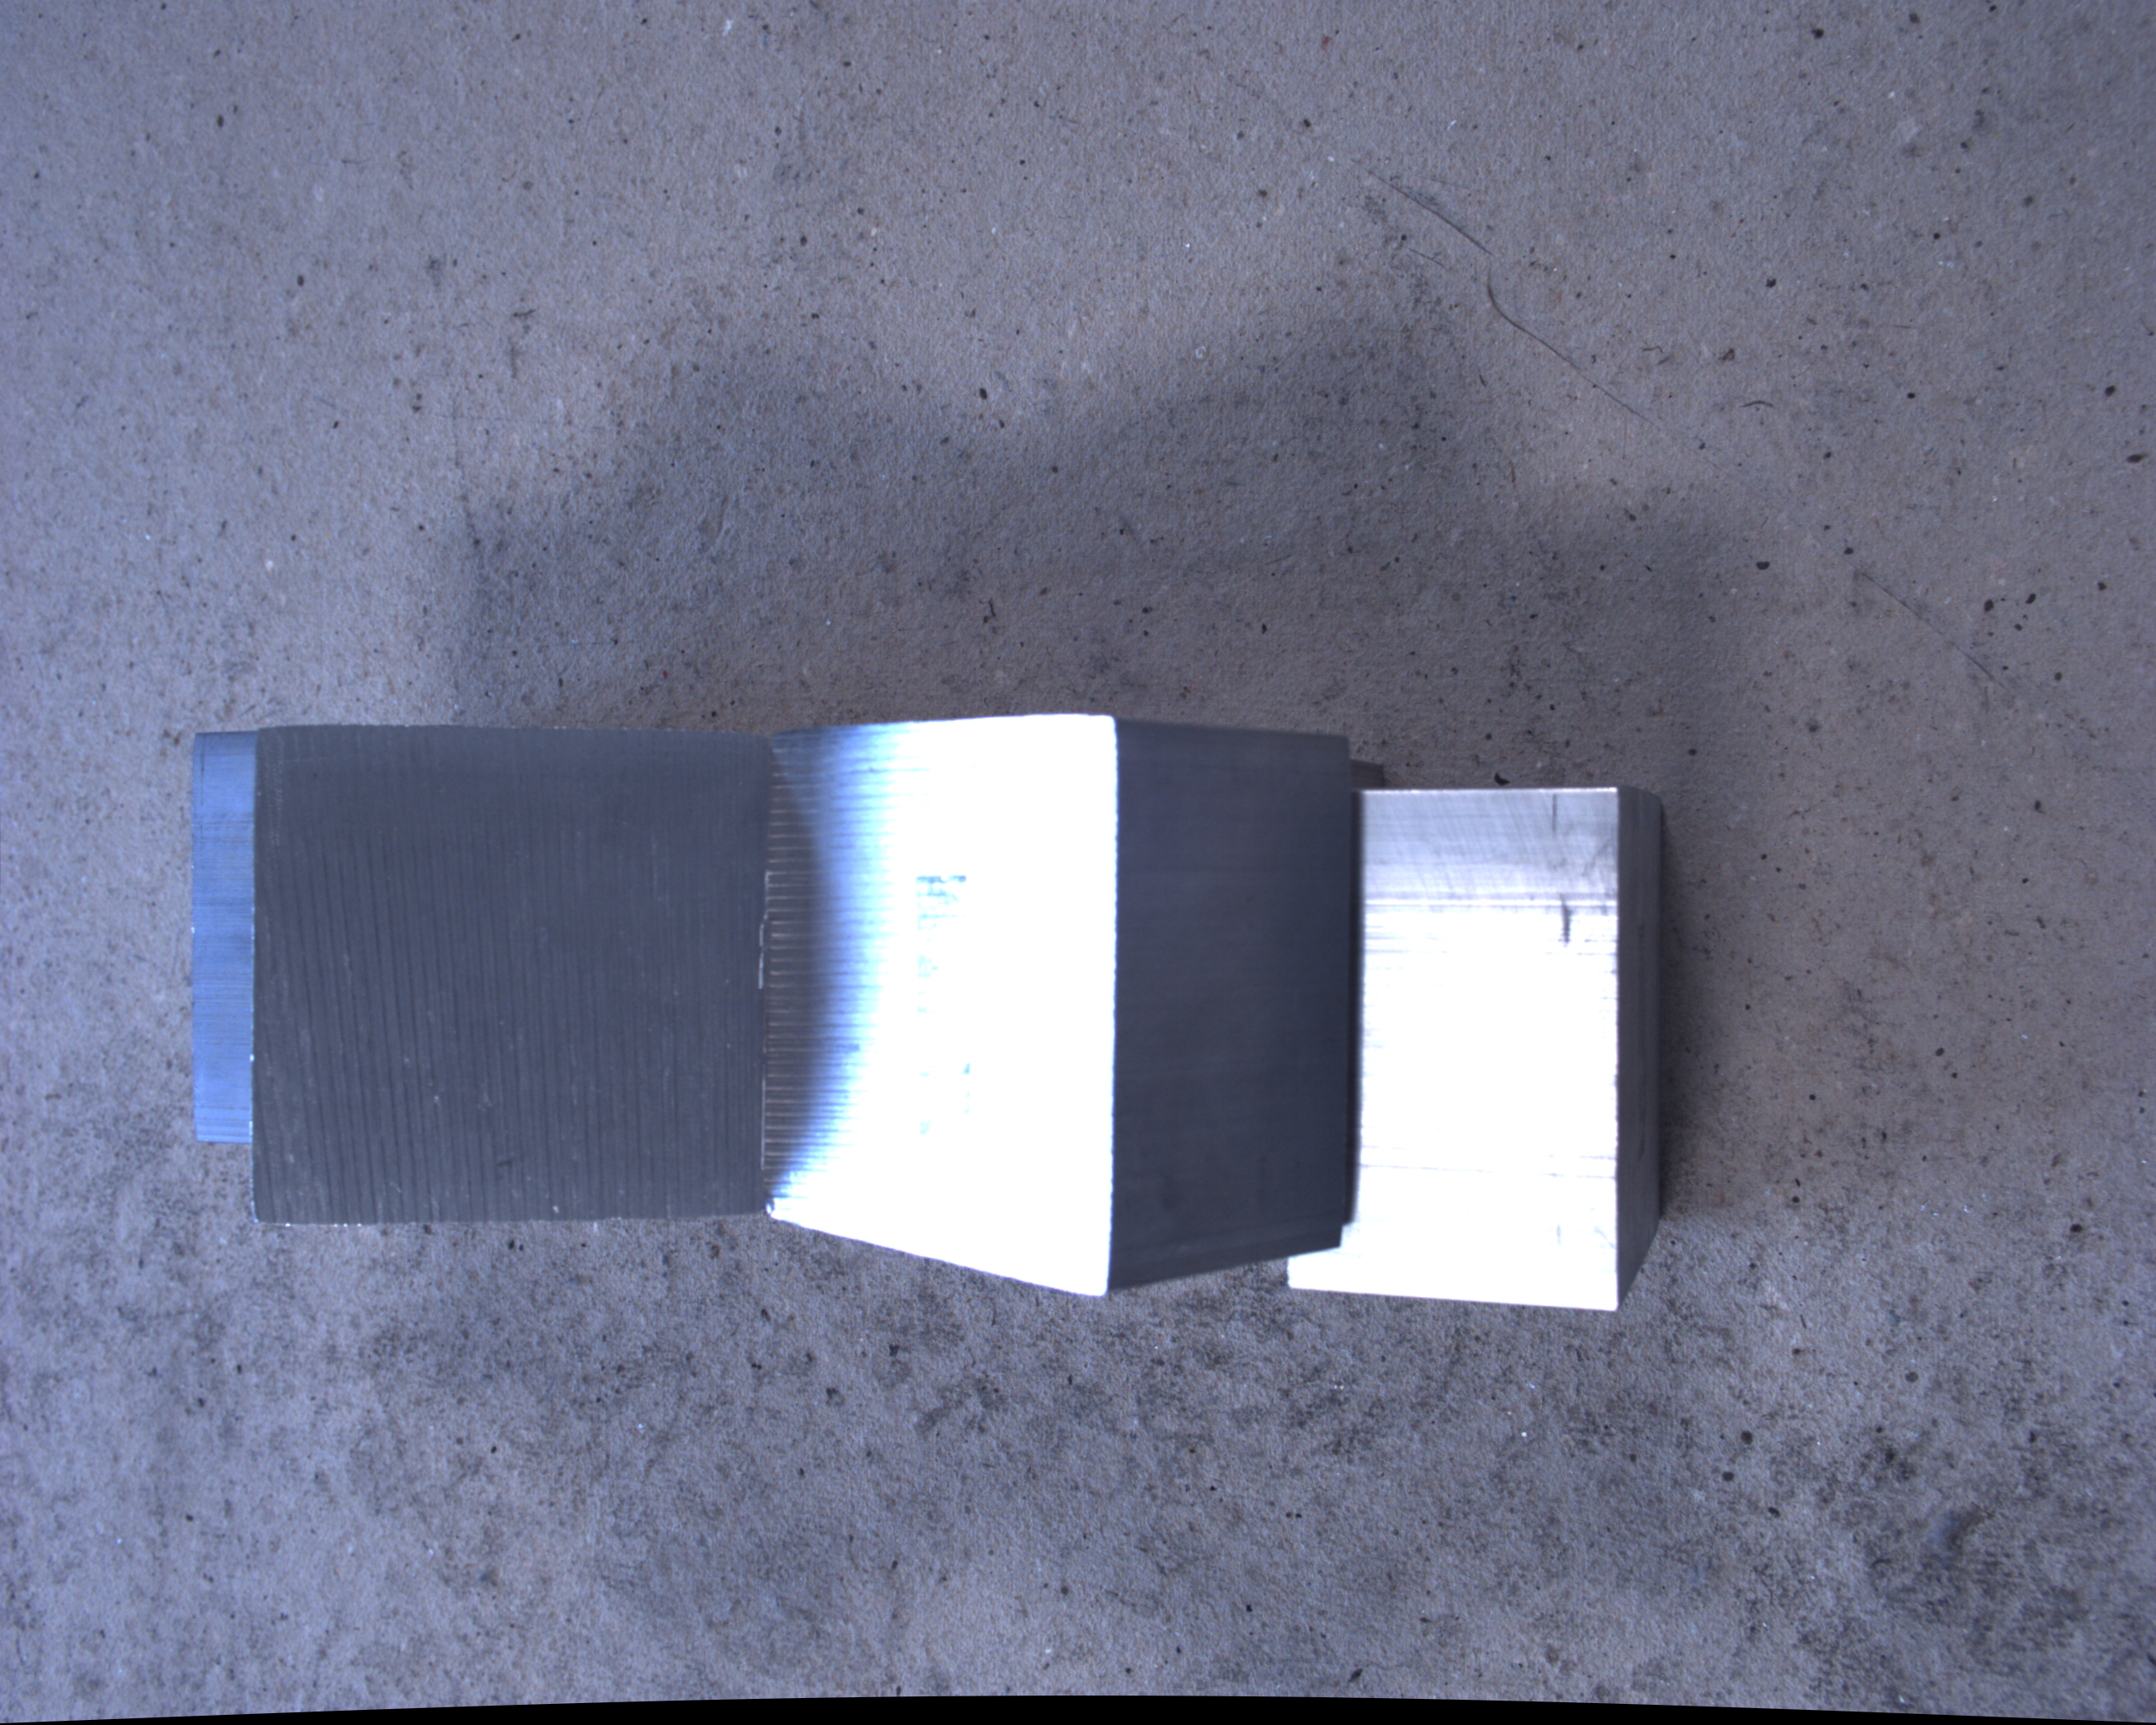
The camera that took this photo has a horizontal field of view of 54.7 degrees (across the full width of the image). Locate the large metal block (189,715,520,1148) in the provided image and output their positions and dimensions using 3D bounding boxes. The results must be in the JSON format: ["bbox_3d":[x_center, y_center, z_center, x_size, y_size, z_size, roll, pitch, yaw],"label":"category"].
[{"bbox_3d":[-0.132,0.013,0.427,0.050,0.080,0.080,0,89,20],"label":"large metal block"}]

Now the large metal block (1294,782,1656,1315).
[{"bbox_3d":[0.071,0.027,0.357,0.050,0.080,0.080,0,90,19],"label":"large metal block"}]

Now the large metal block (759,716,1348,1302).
[{"bbox_3d":[-0.006,0.019,0.329,0.080,0.050,0.080,1,90,46],"label":"large metal block"}]

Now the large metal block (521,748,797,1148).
[{"bbox_3d":[-0.063,0.018,0.419,0.080,0.050,0.080,0,90,20],"label":"large metal block"}]

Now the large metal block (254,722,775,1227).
[{"bbox_3d":[-0.094,0.018,0.360,0.081,0.050,0.080,0,90,-9],"label":"large metal block"}]

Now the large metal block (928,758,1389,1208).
[{"bbox_3d":[0.014,0.021,0.391,0.080,0.050,0.080,0,90,20],"label":"large metal block"}]
